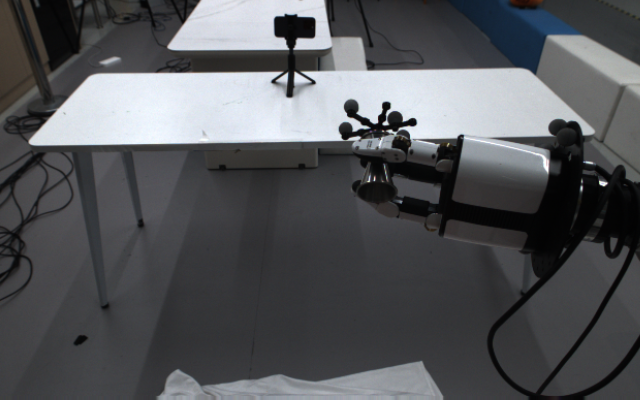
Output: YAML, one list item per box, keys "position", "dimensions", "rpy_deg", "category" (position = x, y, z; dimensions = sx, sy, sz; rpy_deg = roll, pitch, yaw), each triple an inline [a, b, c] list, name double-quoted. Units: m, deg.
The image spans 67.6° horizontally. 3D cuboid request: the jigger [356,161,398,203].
- position: [0.061, -0.039, 0.527]
  dimensions: [0.043, 0.043, 0.071]
  rpy_deg: [4, 61, 3]
  category: "jigger"
